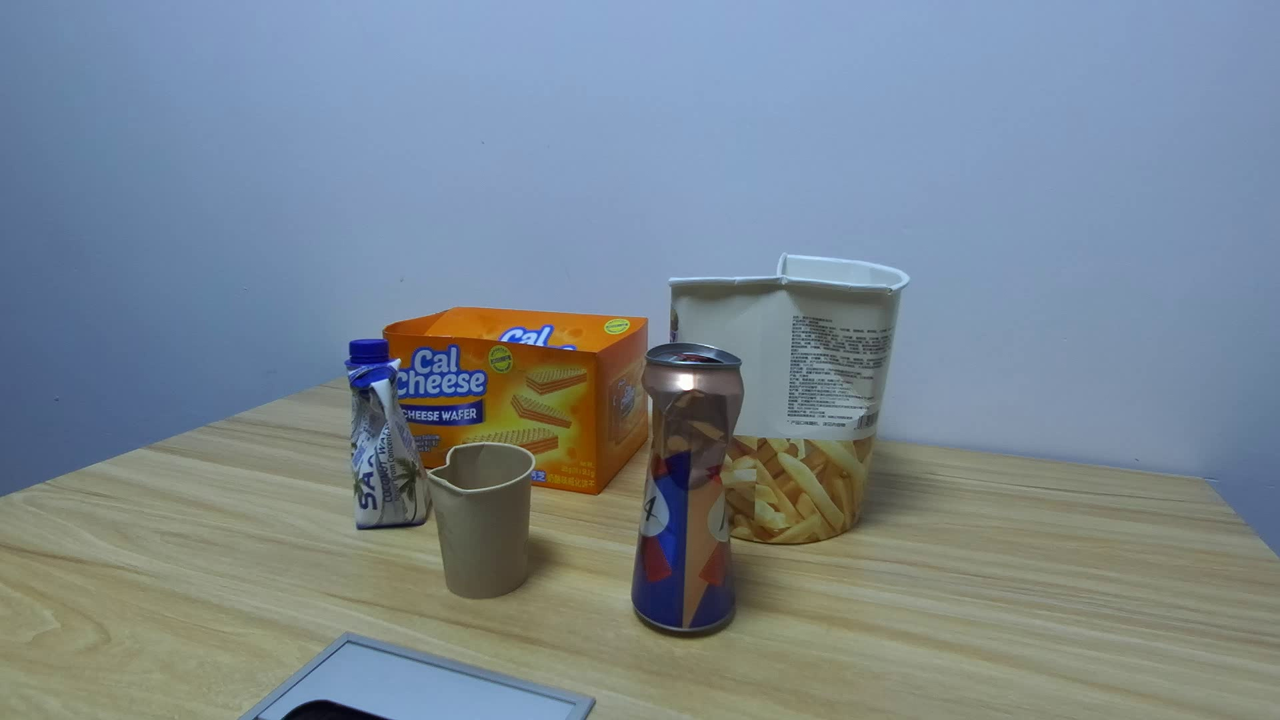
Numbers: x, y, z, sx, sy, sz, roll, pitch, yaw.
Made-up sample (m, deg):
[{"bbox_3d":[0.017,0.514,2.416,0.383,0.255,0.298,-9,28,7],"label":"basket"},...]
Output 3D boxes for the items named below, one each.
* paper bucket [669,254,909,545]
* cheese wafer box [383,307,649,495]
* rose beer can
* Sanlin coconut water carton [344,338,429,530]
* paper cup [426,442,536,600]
[{"bbox_3d":[0.111,0.021,0.573,0.169,0.202,0.163,5,14,9],"label":"paper bucket"},{"bbox_3d":[-0.119,0.029,0.683,0.230,0.132,0.152,6,17,18],"label":"cheese wafer box"},{"bbox_3d":[0.030,0.077,0.424,0.065,0.167,0.076,5,13,9],"label":"rose beer can"},{"bbox_3d":[-0.203,0.059,0.544,0.057,0.145,0.068,-10,22,-8],"label":"Sanlin coconut water carton"},{"bbox_3d":[-0.103,0.107,0.471,0.073,0.081,0.069,11,17,38],"label":"paper cup"}]
